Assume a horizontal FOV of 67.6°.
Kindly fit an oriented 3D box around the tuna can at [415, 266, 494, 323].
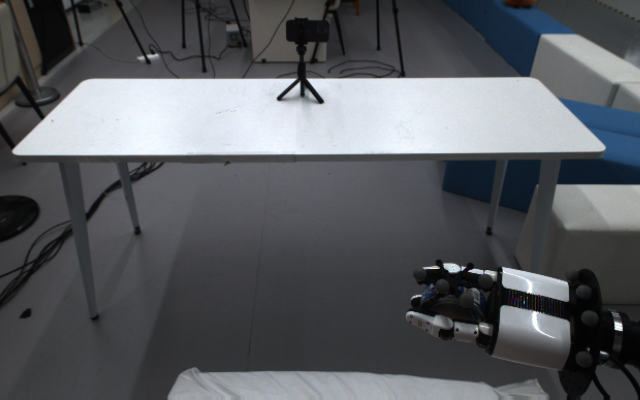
[{"bbox_3d":[0.178,0.143,0.640,0.085,0.085,0.034,12,39,14],"label":"tuna can"}]
